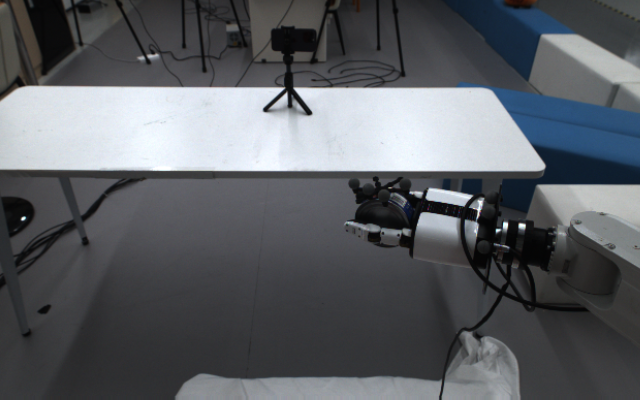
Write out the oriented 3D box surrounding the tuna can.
[{"bbox_3d":[0.100,0.027,0.729,0.085,0.085,0.034,17,37,20],"label":"tuna can"}]
